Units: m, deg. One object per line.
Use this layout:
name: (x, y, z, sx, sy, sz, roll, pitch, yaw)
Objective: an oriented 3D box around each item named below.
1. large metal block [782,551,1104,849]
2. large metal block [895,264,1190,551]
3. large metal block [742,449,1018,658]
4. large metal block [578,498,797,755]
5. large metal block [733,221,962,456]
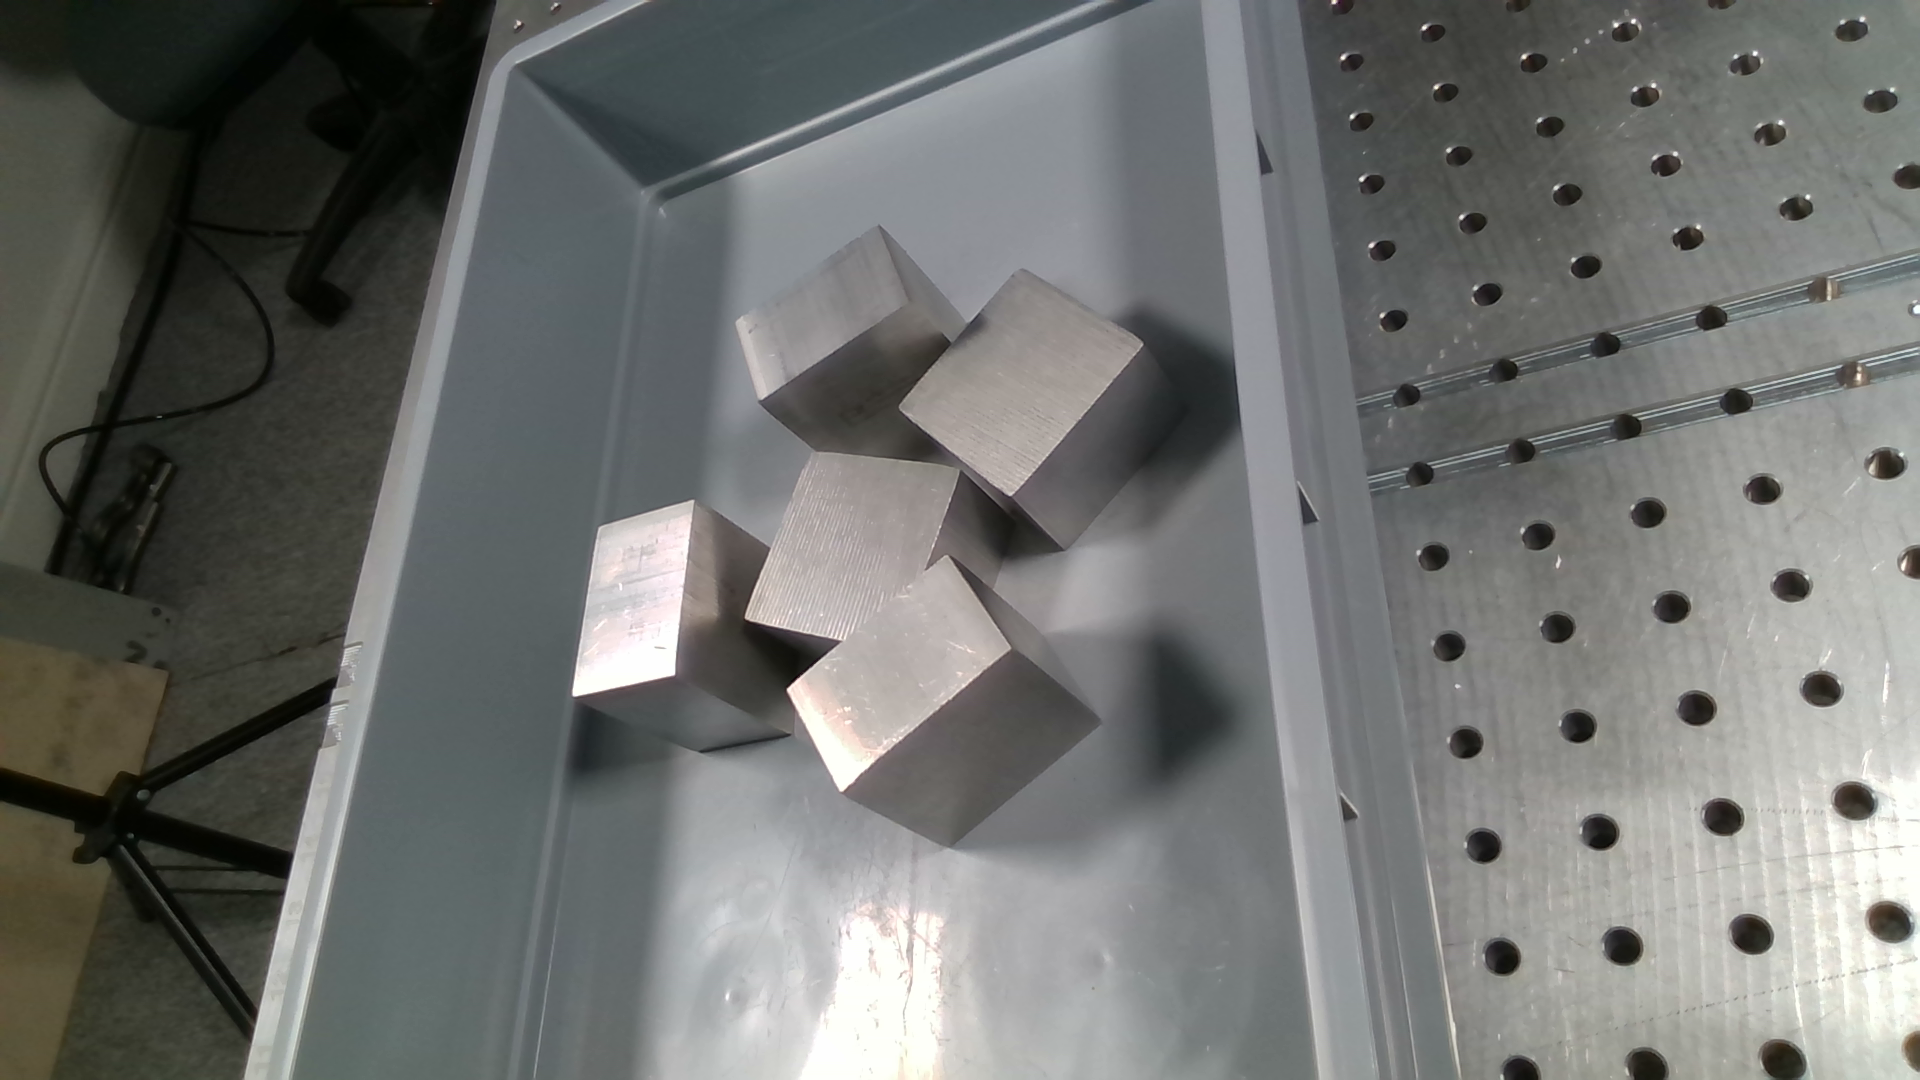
large metal block: (-0.005, 0.062, 0.518, 0.080, 0.080, 0.050, -41, 51, 7)
large metal block: (0.034, -0.056, 0.577, 0.080, 0.050, 0.080, -50, 51, 0)
large metal block: (-0.033, 0.012, 0.582, 0.080, 0.050, 0.080, 9, 71, 35)
large metal block: (-0.114, 0.040, 0.599, 0.050, 0.080, 0.080, -14, 59, 25)
large metal block: (-0.041, -0.081, 0.617, 0.080, 0.080, 0.050, -31, 53, 14)
